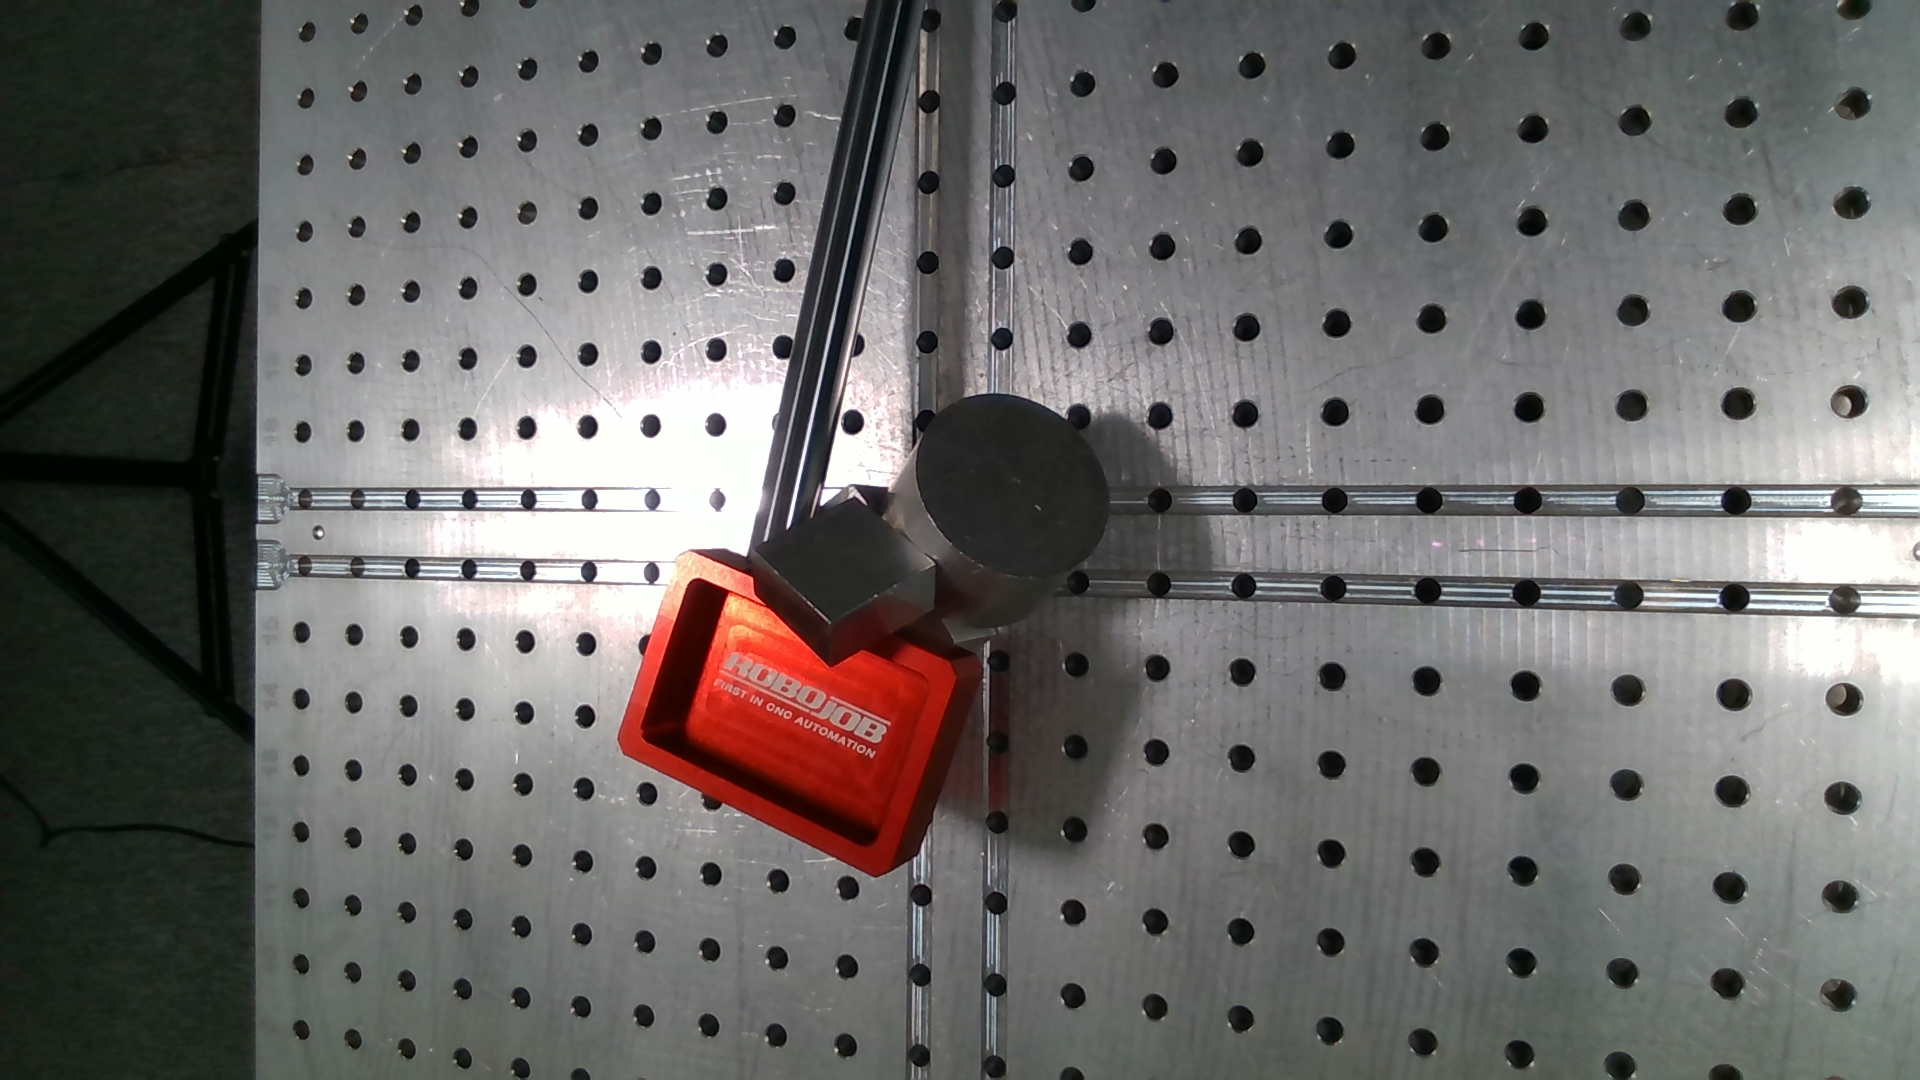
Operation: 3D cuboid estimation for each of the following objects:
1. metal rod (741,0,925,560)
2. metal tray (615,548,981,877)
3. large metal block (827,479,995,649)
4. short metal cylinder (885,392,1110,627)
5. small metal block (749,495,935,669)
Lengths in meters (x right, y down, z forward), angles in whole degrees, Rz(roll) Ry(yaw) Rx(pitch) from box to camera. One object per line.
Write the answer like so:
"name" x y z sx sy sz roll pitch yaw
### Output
"metal rod" -0.046 -0.135 0.572 0.025 0.025 0.300 9 82 20
"metal tray" -0.067 0.066 0.554 0.130 0.030 0.090 22 98 19
"large metal block" -0.044 0.031 0.590 0.080 0.050 0.080 -37 78 17
"short metal cylinder" 0.012 -0.012 0.548 0.080 0.080 0.050 57 150 11
"small metal block" -0.045 0.015 0.528 0.050 0.050 0.025 40 144 33
